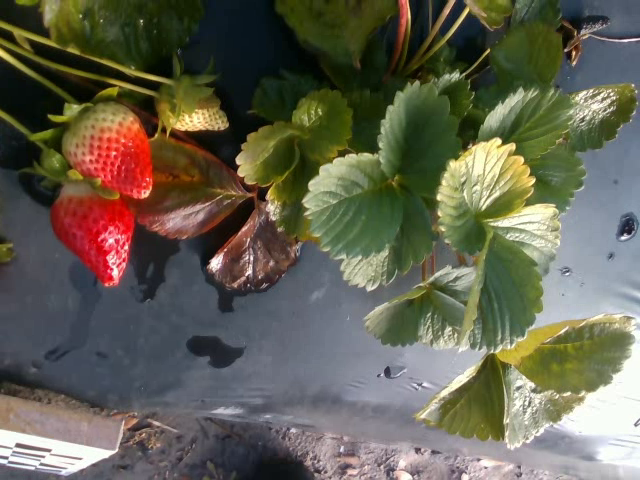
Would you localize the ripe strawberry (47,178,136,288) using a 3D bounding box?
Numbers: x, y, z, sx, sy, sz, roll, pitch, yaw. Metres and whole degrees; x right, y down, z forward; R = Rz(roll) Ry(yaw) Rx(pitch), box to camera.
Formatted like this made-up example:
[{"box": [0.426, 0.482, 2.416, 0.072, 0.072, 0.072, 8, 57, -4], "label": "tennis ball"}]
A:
[{"box": [-0.111, -0.001, 0.304, 0.044, 0.055, 0.041, -12, 4, 36], "label": "ripe strawberry"}]
